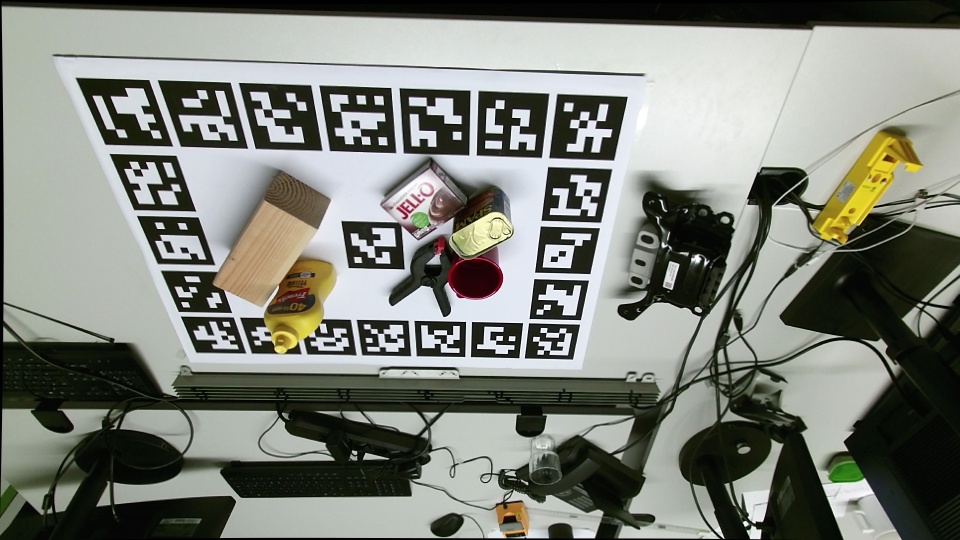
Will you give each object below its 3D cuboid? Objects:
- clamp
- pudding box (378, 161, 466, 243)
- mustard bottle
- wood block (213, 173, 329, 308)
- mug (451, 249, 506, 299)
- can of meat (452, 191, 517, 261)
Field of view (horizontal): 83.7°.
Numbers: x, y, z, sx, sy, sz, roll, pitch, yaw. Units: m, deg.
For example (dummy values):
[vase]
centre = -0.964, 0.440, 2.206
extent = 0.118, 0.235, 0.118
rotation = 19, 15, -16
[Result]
[clamp]
centre = -0.092, 0.026, 0.968
extent = 0.122, 0.036, 0.165
rotation = 18, 122, -11
[pudding box]
centre = -0.092, -0.107, 0.864
extent = 0.114, 0.038, 0.090
rotation = -32, 120, 23
[mustard bottle]
centre = -0.306, 0.073, 0.898
extent = 0.096, 0.190, 0.058
rotation = -4, 125, 1
[wood block]
centre = -0.345, -0.044, 0.880
extent = 0.090, 0.090, 0.206
rotation = 32, 122, -24
[mug]
centre = -0.008, -0.002, 0.942
extent = 0.093, 0.081, 0.117
rotation = 19, 122, -14
[can of meat]
centre = 0.006, -0.072, 0.856
extent = 0.102, 0.083, 0.058
rotation = -25, 121, 16
